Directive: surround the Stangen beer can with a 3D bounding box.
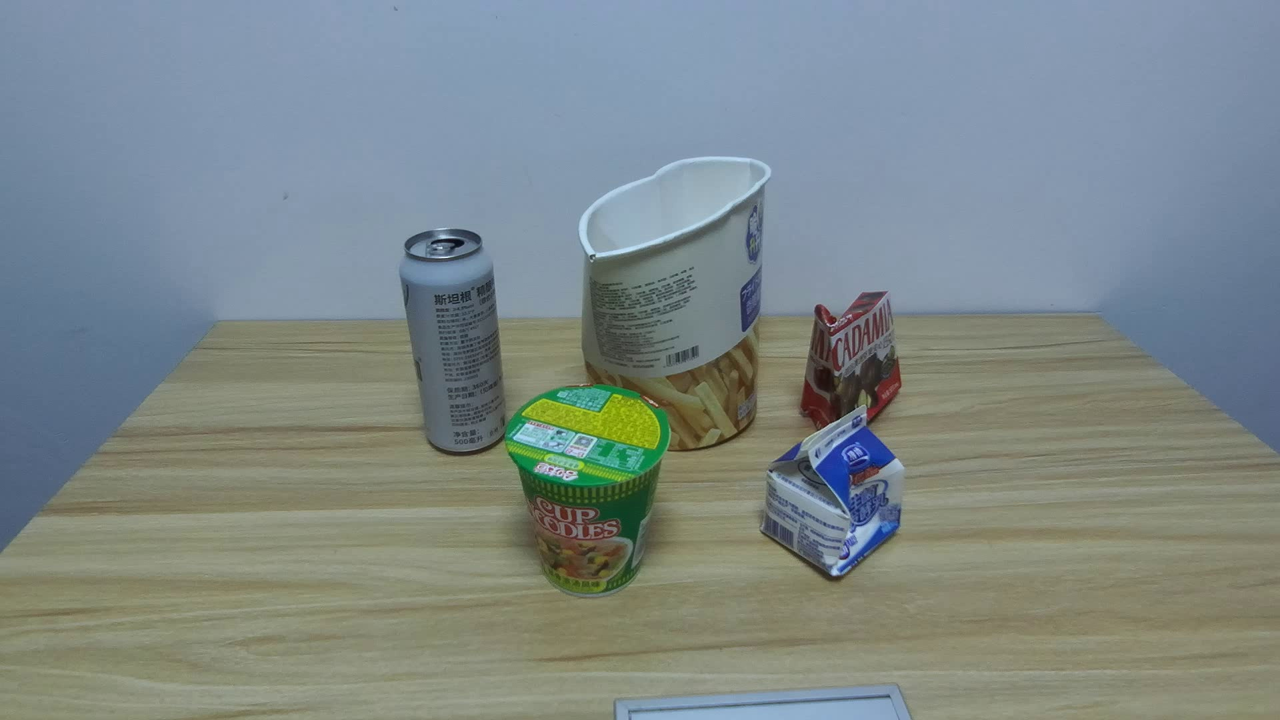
[{"bbox_3d":[-0.142,-0.012,0.548,0.067,0.171,0.067,1,31,0],"label":"Stangen beer can"}]

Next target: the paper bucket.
[{"bbox_3d":[0.032,-0.046,0.579,0.147,0.199,0.217,1,30,0],"label":"paper bucket"}]

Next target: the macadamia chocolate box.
[{"bbox_3d":[0.182,-0.001,0.598,0.056,0.112,0.127,25,39,35],"label":"macadamia chocolate box"}]

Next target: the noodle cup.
[{"bbox_3d":[-0.030,0.087,0.446,0.097,0.110,0.097,0,32,0],"label":"noodle cup"}]

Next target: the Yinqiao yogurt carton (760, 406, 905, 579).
[{"bbox_3d":[0.130,0.081,0.480,0.078,0.094,0.070,-24,33,-35],"label":"Yinqiao yogurt carton"}]
